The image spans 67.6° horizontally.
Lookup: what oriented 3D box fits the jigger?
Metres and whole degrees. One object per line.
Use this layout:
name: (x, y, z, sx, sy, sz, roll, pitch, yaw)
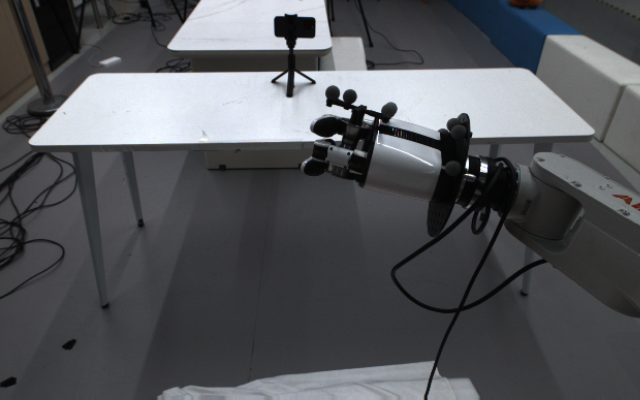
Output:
jigger: (0.037, -0.065, 0.614, 0.043, 0.071, 0.043, 15, 16, -5)
